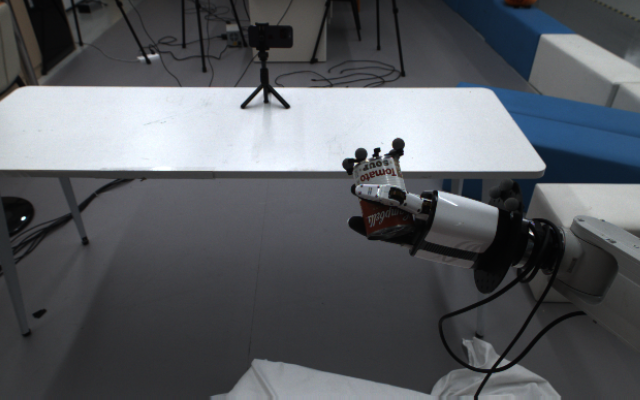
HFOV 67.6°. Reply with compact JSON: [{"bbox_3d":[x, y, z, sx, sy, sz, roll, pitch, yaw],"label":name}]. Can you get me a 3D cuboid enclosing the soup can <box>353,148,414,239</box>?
[{"bbox_3d":[0.088,-0.003,0.668,0.067,0.067,0.101,-8,74,-14],"label":"soup can"}]
